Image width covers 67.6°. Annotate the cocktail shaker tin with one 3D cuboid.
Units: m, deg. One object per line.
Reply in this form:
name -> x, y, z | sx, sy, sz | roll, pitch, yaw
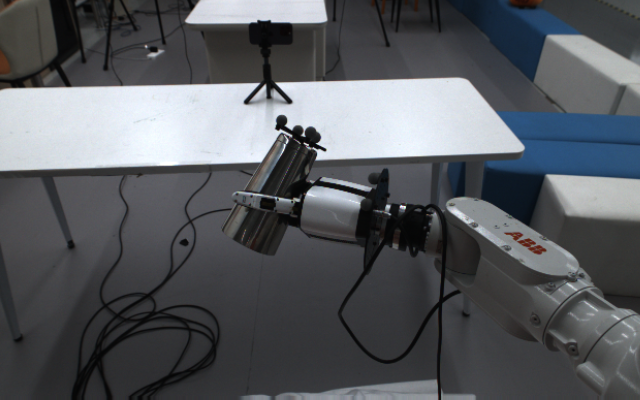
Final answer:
cocktail shaker tin -> -0.072, -0.014, 0.740 | 0.093, 0.170, 0.093 | 27, 2, -1
